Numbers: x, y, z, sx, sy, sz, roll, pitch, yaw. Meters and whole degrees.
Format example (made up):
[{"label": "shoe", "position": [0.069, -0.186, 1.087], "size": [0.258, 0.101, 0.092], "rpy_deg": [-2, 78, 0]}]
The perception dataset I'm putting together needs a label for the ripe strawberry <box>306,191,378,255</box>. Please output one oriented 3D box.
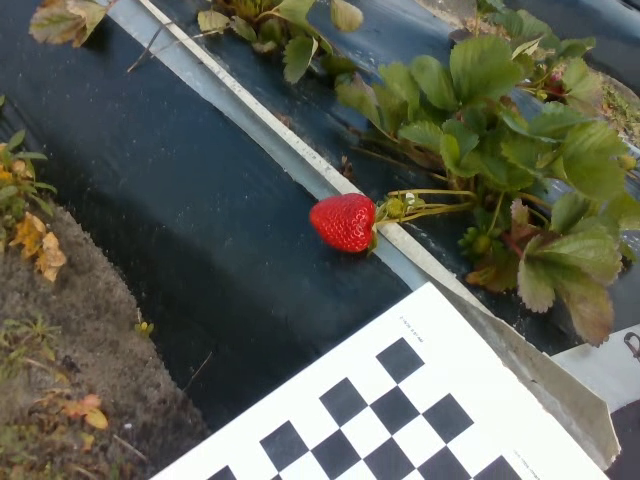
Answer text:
[{"label": "ripe strawberry", "position": [0.015, -0.014, 0.419], "size": [0.052, 0.048, 0.030], "rpy_deg": [12, -29, -16]}]
